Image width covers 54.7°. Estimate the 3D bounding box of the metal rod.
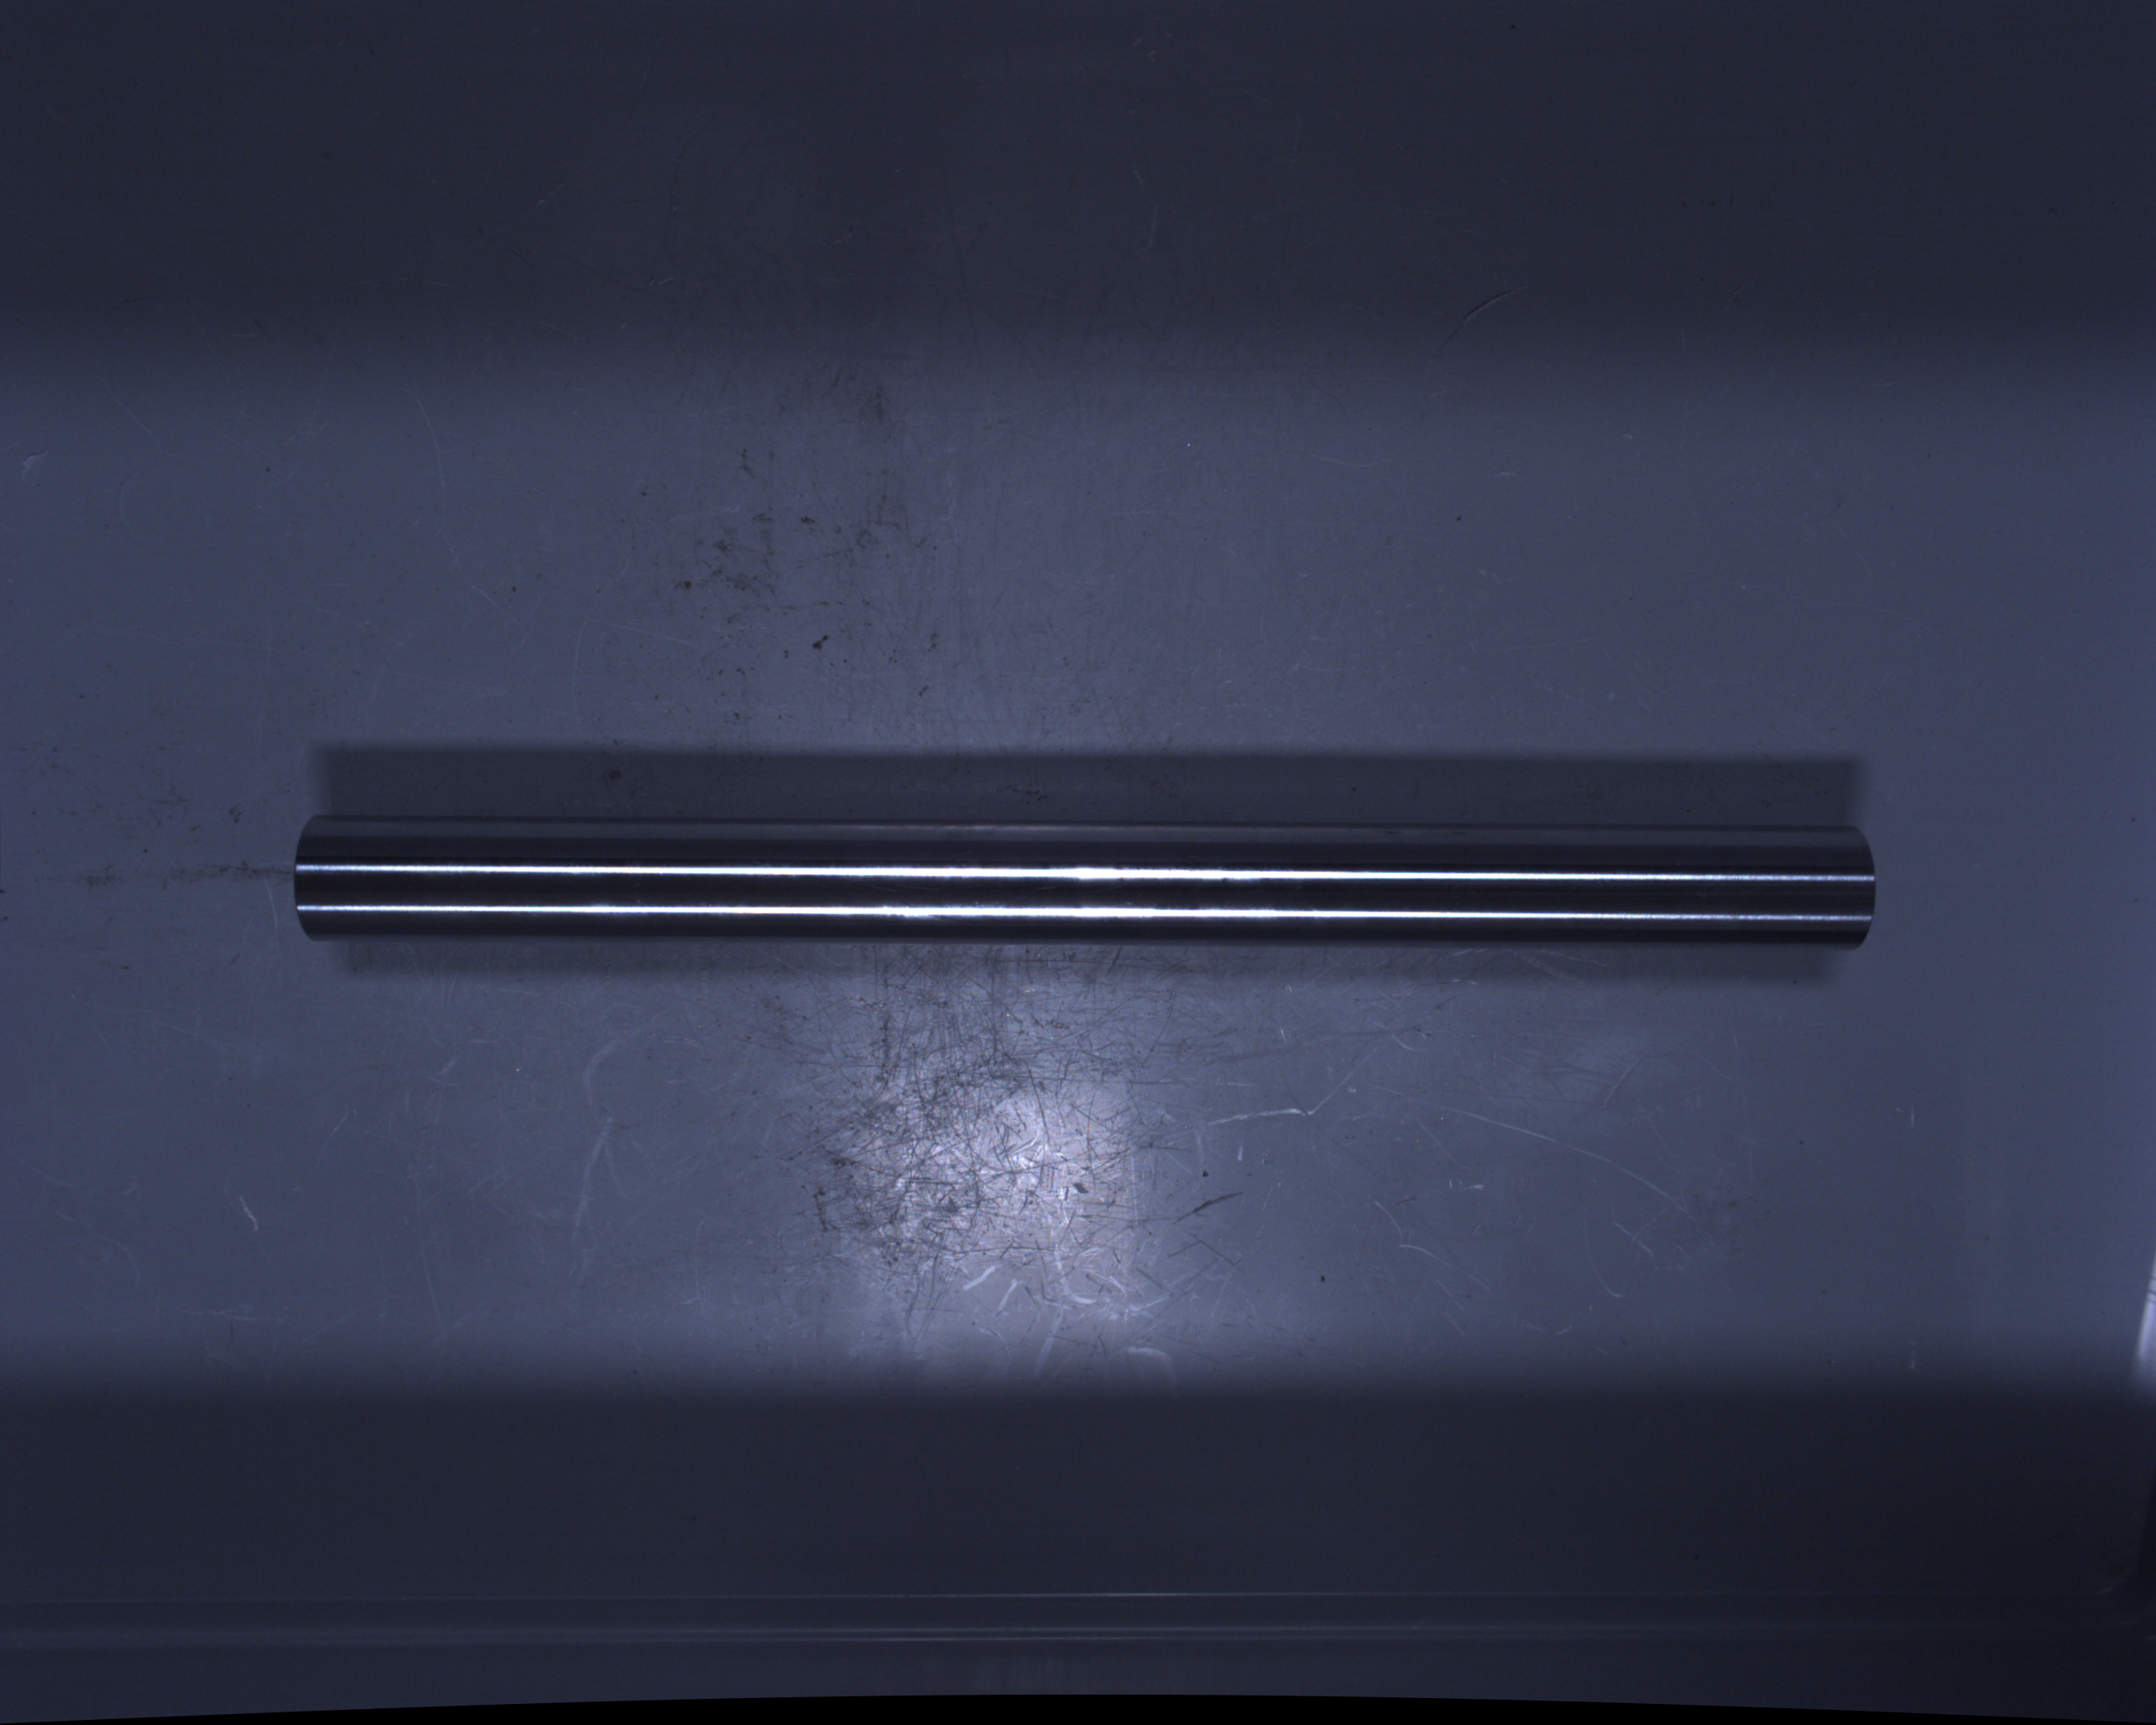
[{"bbox_3d":[0.002,0.004,0.411,0.302,0.025,0.025,0,110,-1],"label":"metal rod"}]
